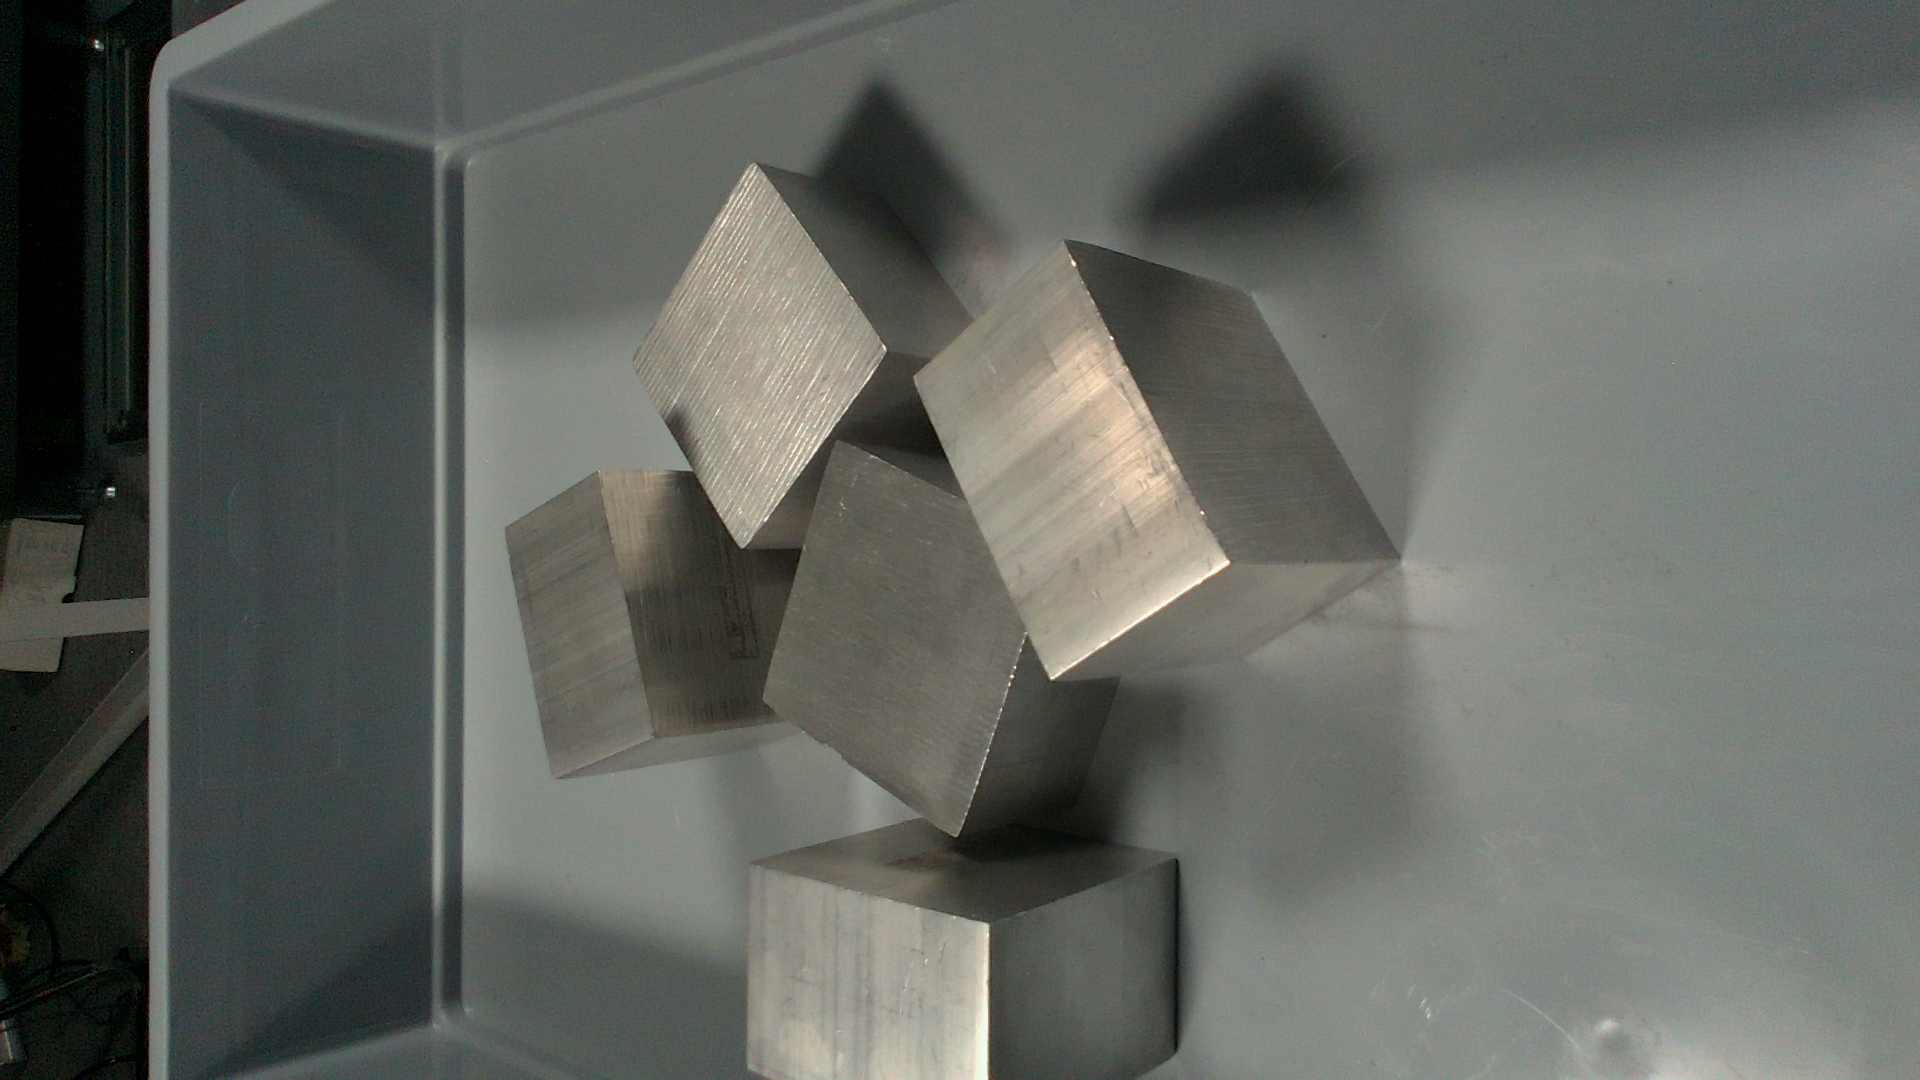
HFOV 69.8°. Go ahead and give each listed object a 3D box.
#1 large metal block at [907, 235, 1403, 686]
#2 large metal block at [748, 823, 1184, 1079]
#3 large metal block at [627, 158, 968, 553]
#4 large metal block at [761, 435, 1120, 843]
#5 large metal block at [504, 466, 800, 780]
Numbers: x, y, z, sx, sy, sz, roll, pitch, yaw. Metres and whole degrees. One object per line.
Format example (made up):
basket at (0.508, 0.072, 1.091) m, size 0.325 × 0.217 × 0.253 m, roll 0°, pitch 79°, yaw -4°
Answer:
large metal block at (0.046, -0.017, 0.318) m, size 0.050 × 0.080 × 0.080 m, roll -38°, pitch 67°, yaw 34°
large metal block at (0.002, 0.108, 0.357) m, size 0.080 × 0.080 × 0.050 m, roll 1°, pitch 91°, yaw 40°
large metal block at (-0.045, -0.053, 0.415) m, size 0.080 × 0.050 × 0.080 m, roll -50°, pitch 60°, yaw 29°
large metal block at (-0.001, 0.024, 0.378) m, size 0.080 × 0.050 × 0.080 m, roll 28°, pitch 108°, yaw 37°
large metal block at (-0.086, 0.025, 0.430) m, size 0.050 × 0.080 × 0.080 m, roll -24°, pitch 75°, yaw 38°
